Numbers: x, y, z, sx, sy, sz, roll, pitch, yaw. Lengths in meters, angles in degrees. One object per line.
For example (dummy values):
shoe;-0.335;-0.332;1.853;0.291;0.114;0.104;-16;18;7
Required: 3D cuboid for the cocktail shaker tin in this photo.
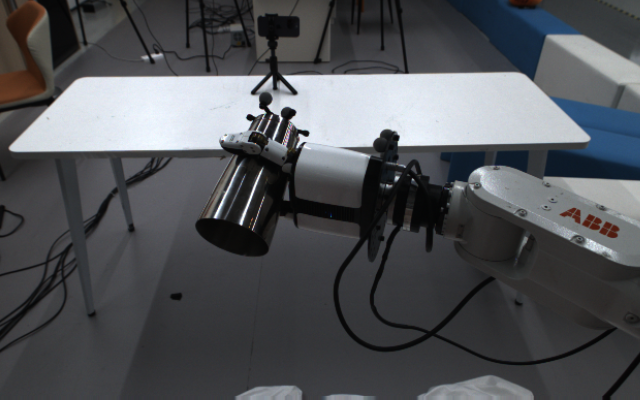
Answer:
cocktail shaker tin;-0.081;-0.024;0.611;0.093;0.093;0.170;11;60;12
